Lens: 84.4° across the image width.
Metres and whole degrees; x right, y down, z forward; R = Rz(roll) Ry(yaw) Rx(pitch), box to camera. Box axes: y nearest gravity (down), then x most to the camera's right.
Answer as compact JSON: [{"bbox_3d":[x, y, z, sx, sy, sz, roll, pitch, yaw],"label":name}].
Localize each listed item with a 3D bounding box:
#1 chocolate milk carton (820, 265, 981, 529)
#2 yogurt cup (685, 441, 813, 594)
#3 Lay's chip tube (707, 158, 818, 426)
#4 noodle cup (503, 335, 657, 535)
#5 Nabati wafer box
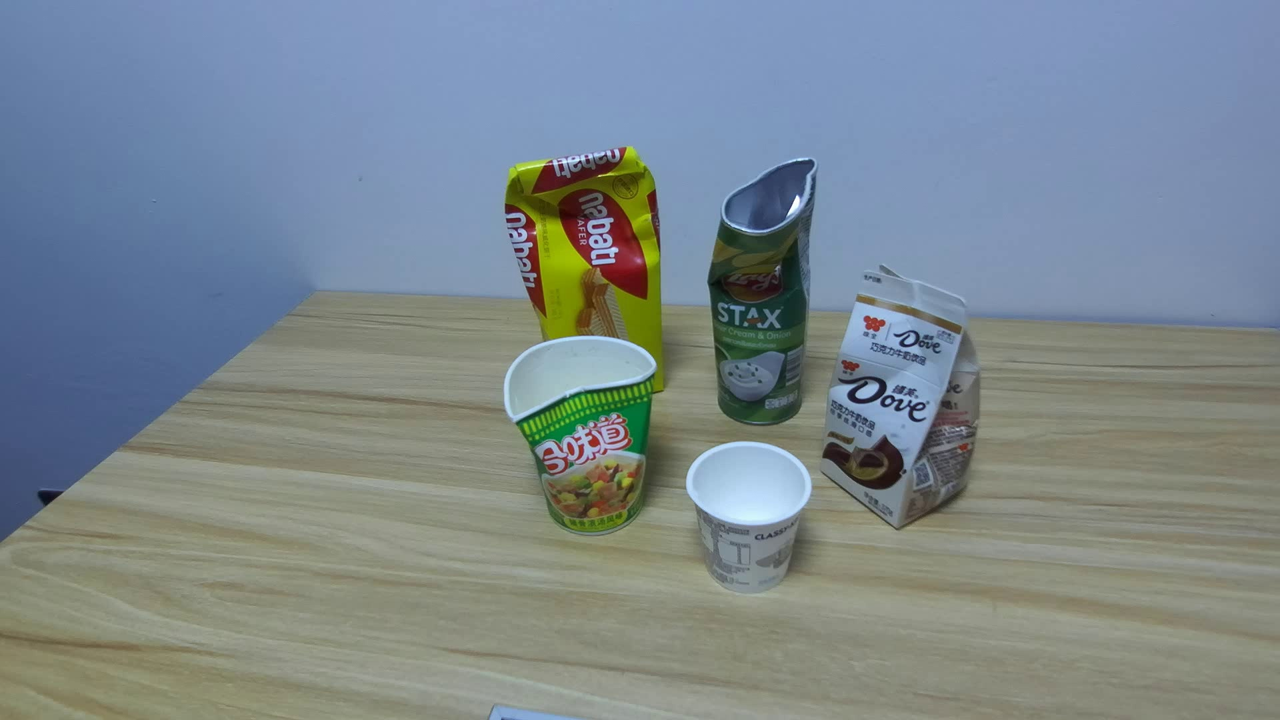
[{"bbox_3d":[0.173,0.021,0.453,0.073,0.155,0.084,-22,37,-25],"label":"chocolate milk carton"},{"bbox_3d":[0.065,0.097,0.425,0.072,0.068,0.072,-4,35,3],"label":"yogurt cup"},{"bbox_3d":[0.092,-0.040,0.518,0.079,0.200,0.071,-8,41,-1],"label":"Lay's chip tube"},{"bbox_3d":[-0.033,0.052,0.472,0.094,0.109,0.087,-5,33,0],"label":"noodle cup"},{"bbox_3d":[-0.035,-0.057,0.552,0.113,0.205,0.042,-14,32,-10],"label":"Nabati wafer box"}]
